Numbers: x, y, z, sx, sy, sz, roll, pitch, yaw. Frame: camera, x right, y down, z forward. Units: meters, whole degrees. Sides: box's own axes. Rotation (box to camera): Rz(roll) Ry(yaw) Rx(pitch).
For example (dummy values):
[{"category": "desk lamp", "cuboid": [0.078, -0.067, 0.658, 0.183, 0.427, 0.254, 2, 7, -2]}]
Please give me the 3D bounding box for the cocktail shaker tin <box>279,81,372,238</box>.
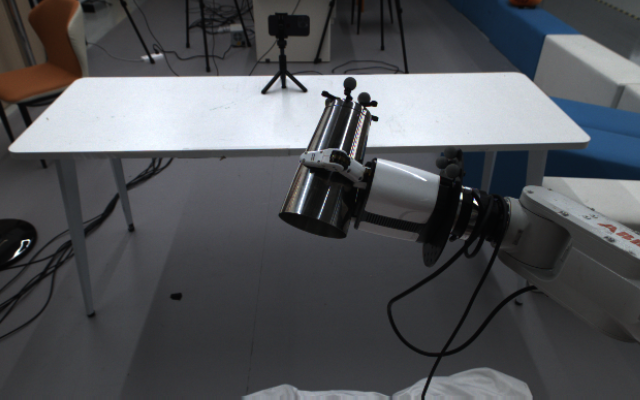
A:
[{"category": "cocktail shaker tin", "cuboid": [0.015, -0.043, 0.643, 0.093, 0.093, 0.170, 14, 74, 16]}]
